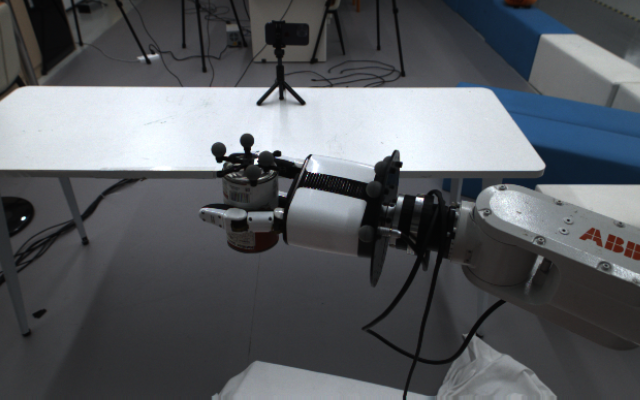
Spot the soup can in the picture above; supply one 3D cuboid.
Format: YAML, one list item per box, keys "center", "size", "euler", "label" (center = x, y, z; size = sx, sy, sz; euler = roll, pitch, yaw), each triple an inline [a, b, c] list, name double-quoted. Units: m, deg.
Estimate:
- center: [-0.083, 0.006, 0.591]
  size: [0.067, 0.101, 0.067]
  euler: [2, 32, -1]
  label: "soup can"
